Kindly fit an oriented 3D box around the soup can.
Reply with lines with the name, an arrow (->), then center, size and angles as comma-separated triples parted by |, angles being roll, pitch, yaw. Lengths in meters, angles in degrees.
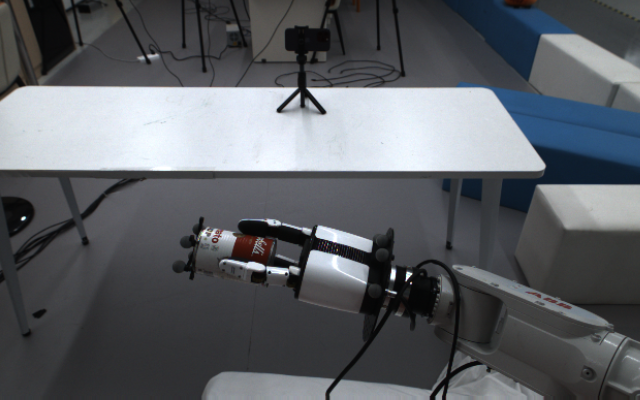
soup can -> -0.114, 0.080, 0.668 | 0.101, 0.067, 0.067 | 11, 35, 0
